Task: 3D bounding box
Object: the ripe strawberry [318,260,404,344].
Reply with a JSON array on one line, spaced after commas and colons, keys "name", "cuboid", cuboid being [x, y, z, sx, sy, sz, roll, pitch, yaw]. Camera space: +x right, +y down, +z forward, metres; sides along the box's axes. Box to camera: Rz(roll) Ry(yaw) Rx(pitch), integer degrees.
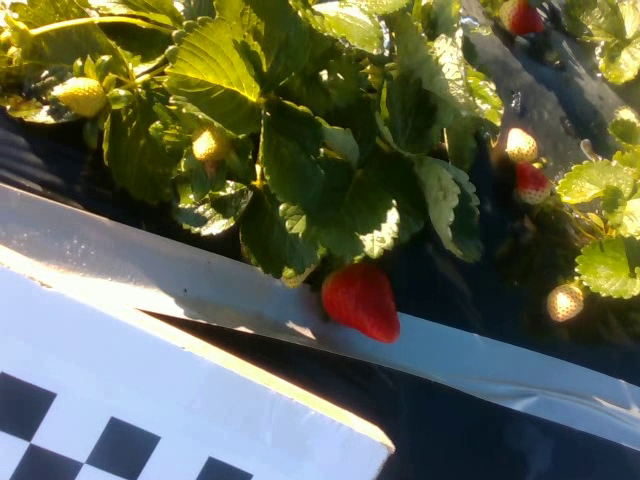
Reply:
[{"name": "ripe strawberry", "cuboid": [0.023, 0.036, 0.336, 0.045, 0.048, 0.063, -35, 47, -3]}]
